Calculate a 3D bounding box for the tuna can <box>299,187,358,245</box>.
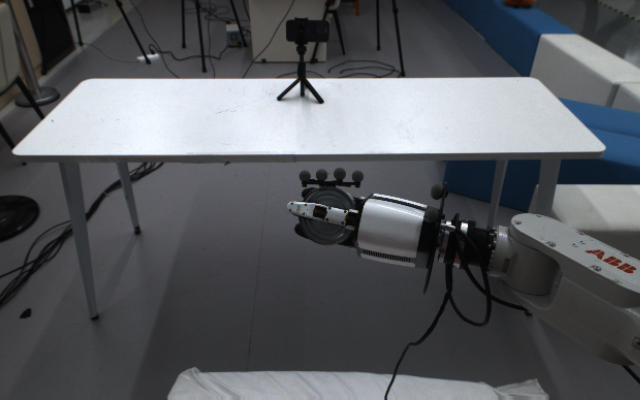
[{"bbox_3d":[0.015,0.023,0.710,0.085,0.085,0.034,12,-1,14],"label":"tuna can"}]
